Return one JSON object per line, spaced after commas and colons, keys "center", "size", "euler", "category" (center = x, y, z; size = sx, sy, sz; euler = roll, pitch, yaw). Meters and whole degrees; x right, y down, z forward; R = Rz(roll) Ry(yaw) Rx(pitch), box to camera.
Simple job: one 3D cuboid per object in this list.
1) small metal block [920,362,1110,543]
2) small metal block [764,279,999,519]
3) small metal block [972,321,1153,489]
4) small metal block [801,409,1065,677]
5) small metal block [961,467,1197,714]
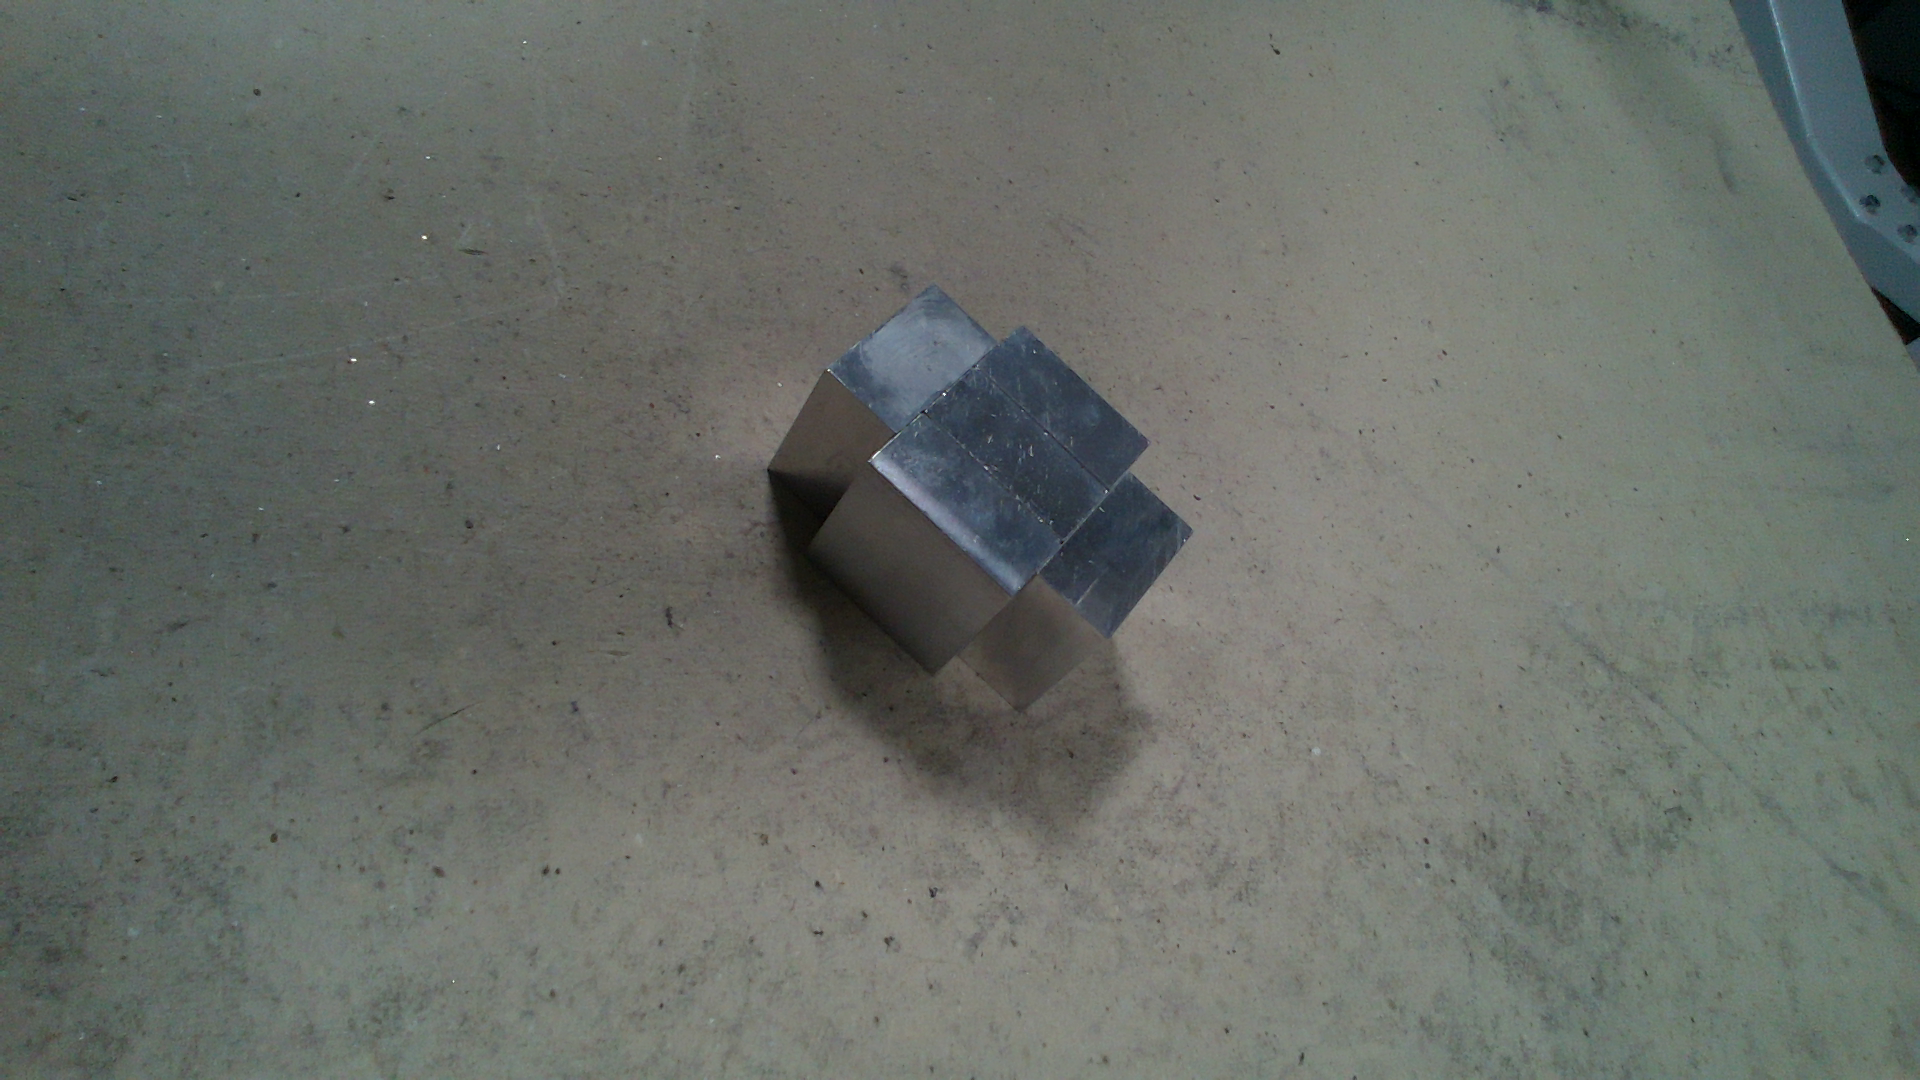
{"center": [0.005, -0.012, 0.383], "size": [0.050, 0.050, 0.025], "euler": [43, 51, 1], "category": "small metal block"}
{"center": [-0.022, -0.038, 0.384], "size": [0.025, 0.050, 0.050], "euler": [43, 51, 2], "category": "small metal block"}
{"center": [0.019, -0.026, 0.399], "size": [0.050, 0.050, 0.025], "euler": [42, 51, 1], "category": "small metal block"}
{"center": [-0.008, 0.002, 0.367], "size": [0.050, 0.050, 0.025], "euler": [43, 51, 1], "category": "small metal block"}
{"center": [0.032, 0.014, 0.382], "size": [0.025, 0.050, 0.050], "euler": [43, 51, 2], "category": "small metal block"}
